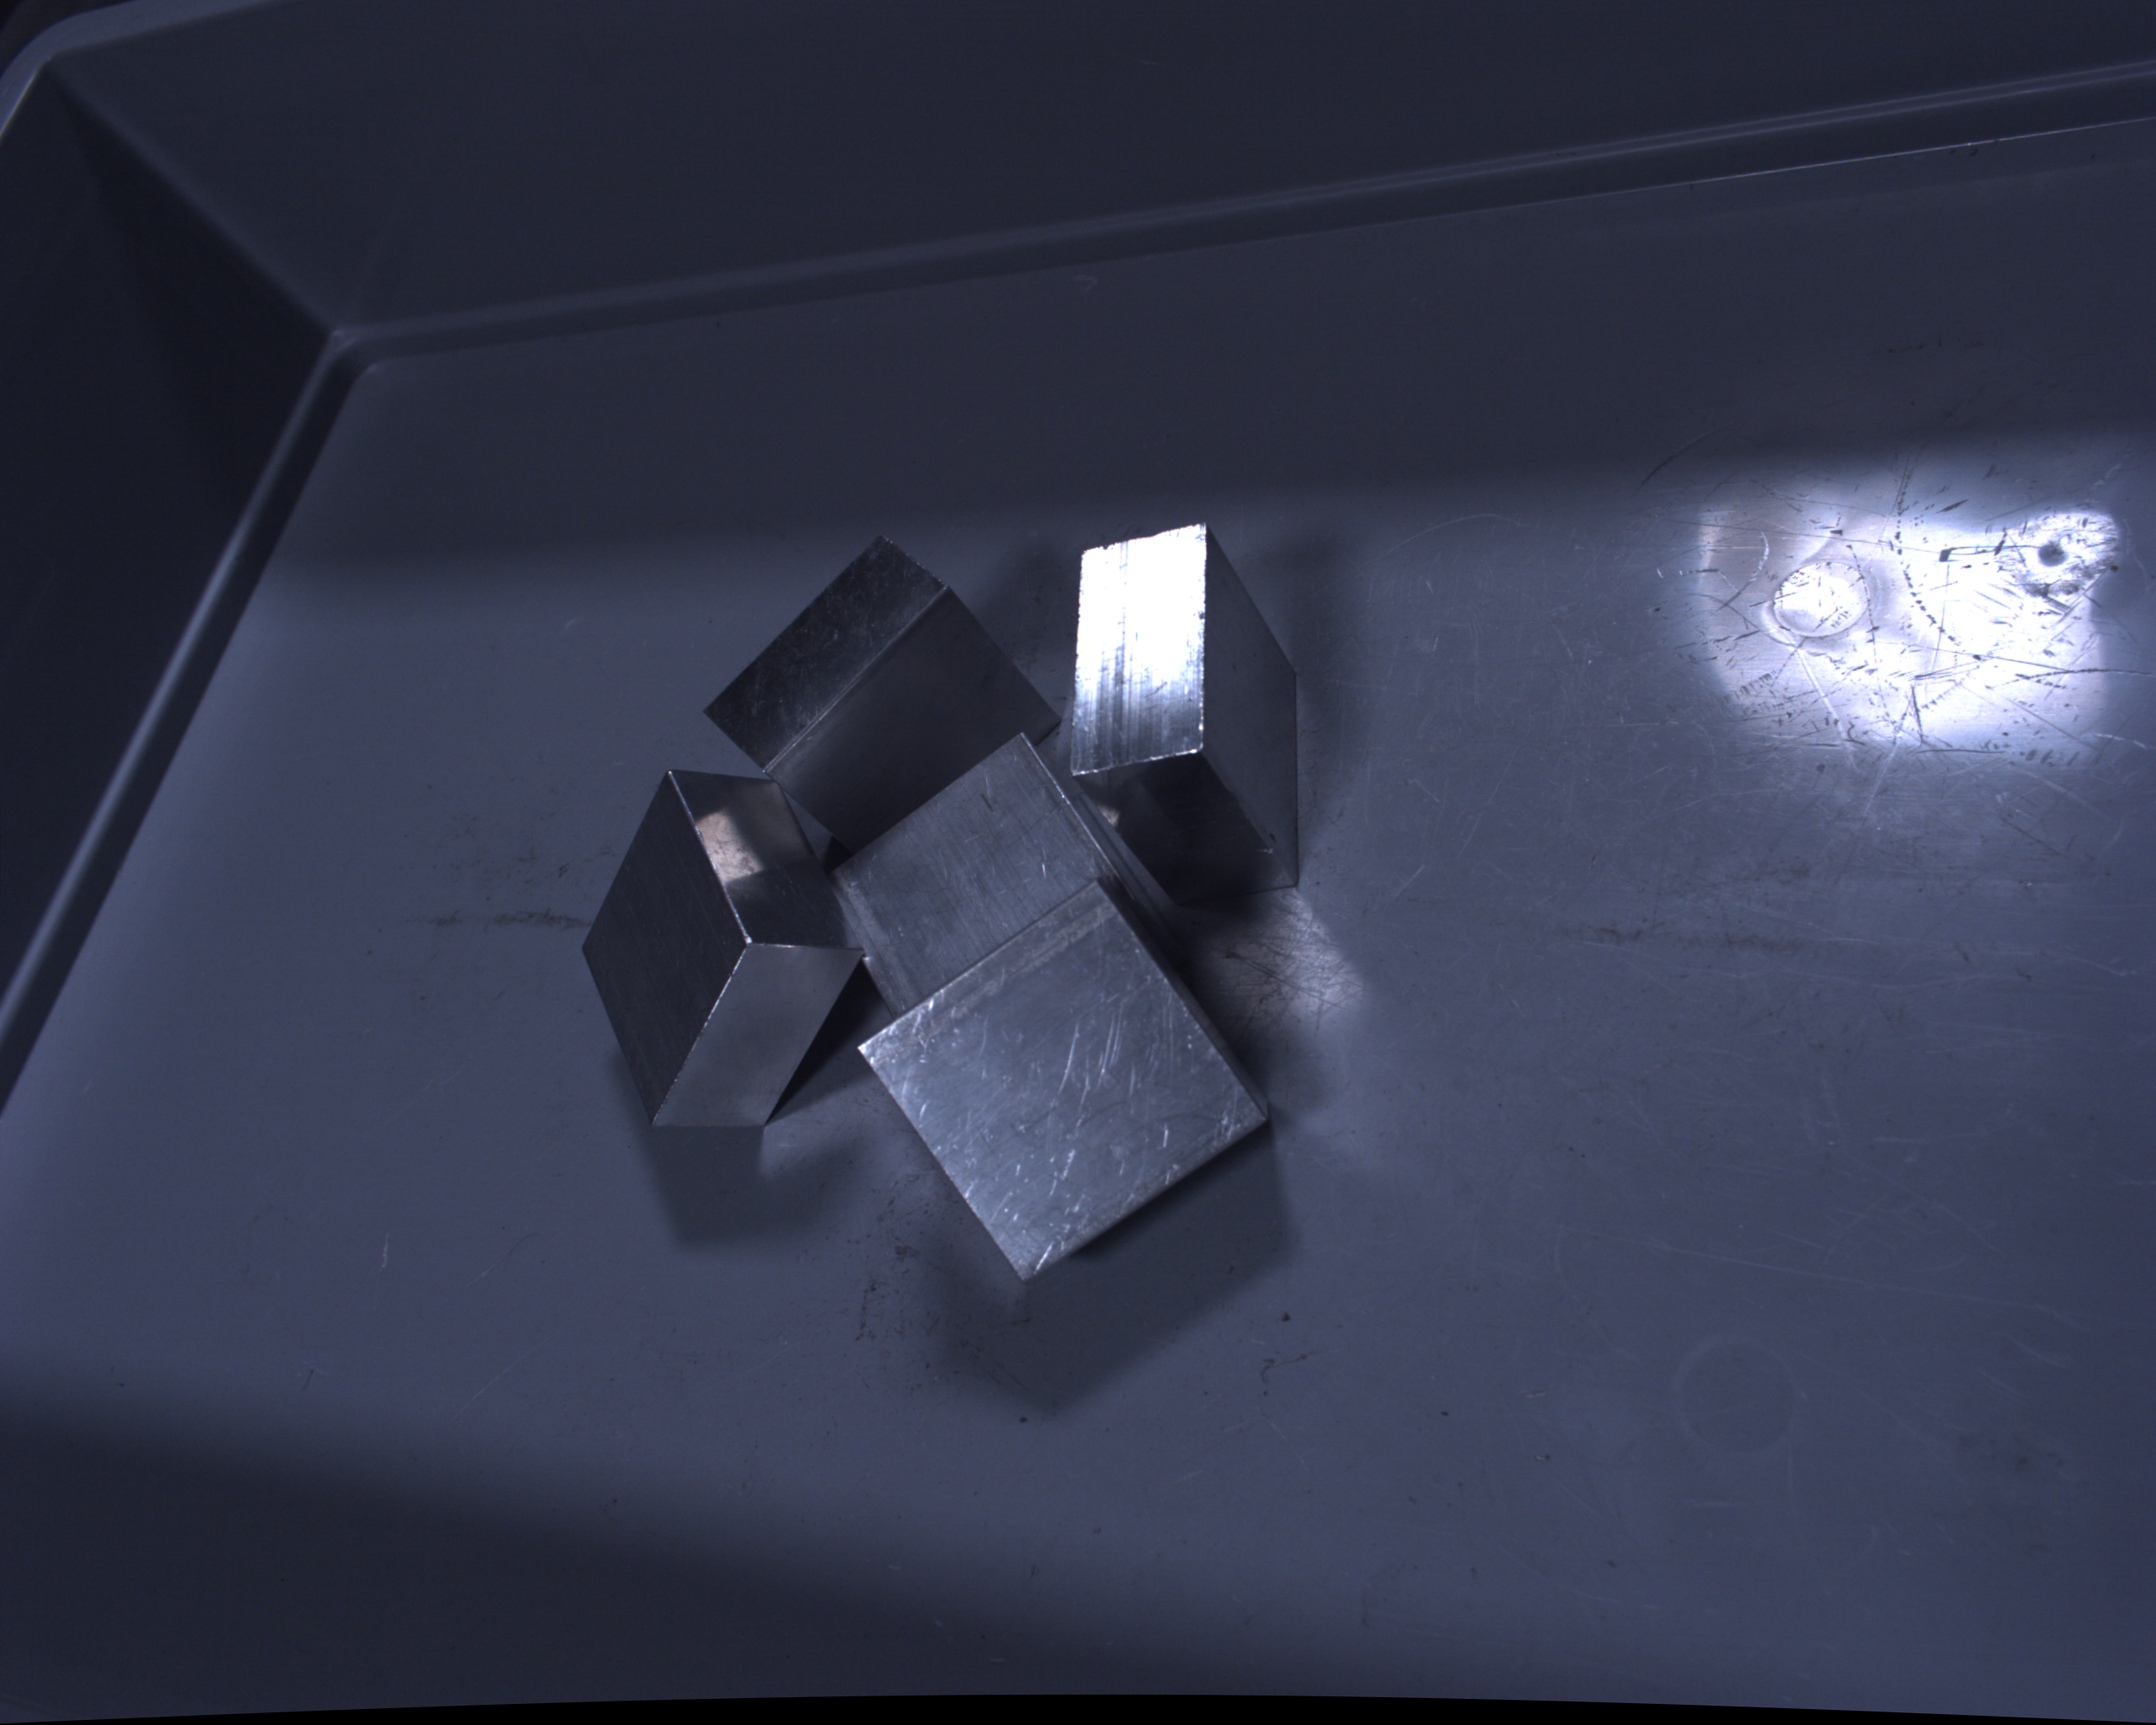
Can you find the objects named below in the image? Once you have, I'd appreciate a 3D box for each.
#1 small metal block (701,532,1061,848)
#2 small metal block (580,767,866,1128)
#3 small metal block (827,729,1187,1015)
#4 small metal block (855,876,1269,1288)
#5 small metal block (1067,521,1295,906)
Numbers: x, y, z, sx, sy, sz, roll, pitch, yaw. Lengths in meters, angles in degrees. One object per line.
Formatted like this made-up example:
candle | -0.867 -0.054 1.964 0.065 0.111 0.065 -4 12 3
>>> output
small metal block | -0.039 -0.030 0.424 0.050 0.050 0.025 -45 51 -3
small metal block | -0.072 0.017 0.414 0.050 0.025 0.050 -58 45 29
small metal block | -0.016 0.011 0.403 0.050 0.025 0.050 -36 51 4
small metal block | -0.002 0.037 0.364 0.050 0.025 0.050 -35 88 4
small metal block | 0.021 -0.027 0.391 0.025 0.050 0.050 -10 57 21
